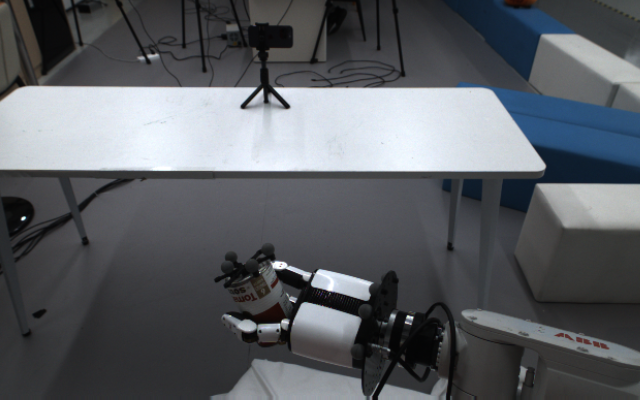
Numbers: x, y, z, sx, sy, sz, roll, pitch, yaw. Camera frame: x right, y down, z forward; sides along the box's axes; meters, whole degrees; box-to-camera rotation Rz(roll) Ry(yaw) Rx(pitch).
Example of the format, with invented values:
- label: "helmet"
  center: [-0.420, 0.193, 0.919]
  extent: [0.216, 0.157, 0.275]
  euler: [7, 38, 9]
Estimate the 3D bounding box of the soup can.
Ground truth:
- label: "soup can"
  center: [-0.075, 0.139, 0.661]
  extent: [0.067, 0.101, 0.067]
  euler: [-24, 16, 7]
